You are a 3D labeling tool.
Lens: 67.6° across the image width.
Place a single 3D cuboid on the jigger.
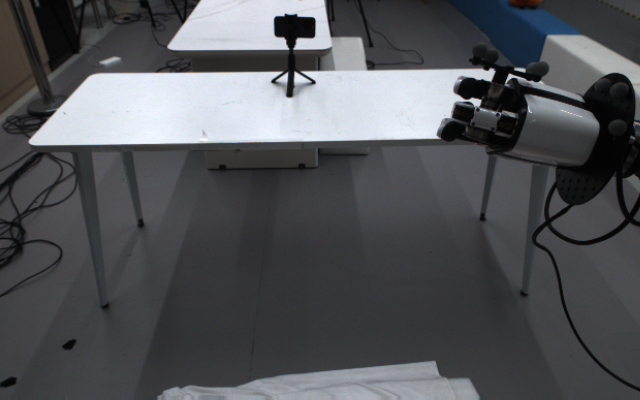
[{"bbox_3d":[0.202,-0.106,0.584,0.043,0.071,0.043,15,16,-5],"label":"jigger"}]
